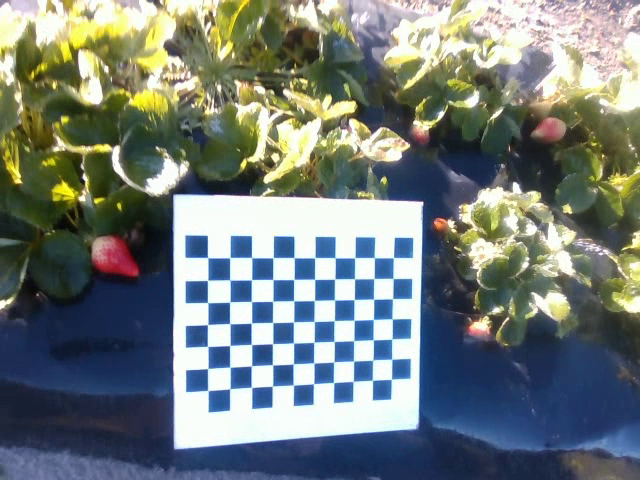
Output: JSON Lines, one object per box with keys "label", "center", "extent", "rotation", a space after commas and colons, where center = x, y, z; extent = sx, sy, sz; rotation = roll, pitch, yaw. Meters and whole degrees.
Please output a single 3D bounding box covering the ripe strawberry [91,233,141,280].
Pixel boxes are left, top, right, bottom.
{"label": "ripe strawberry", "center": [-0.230, 0.024, 0.683], "extent": [0.065, 0.040, 0.040], "rotation": [43, -12, -14]}
